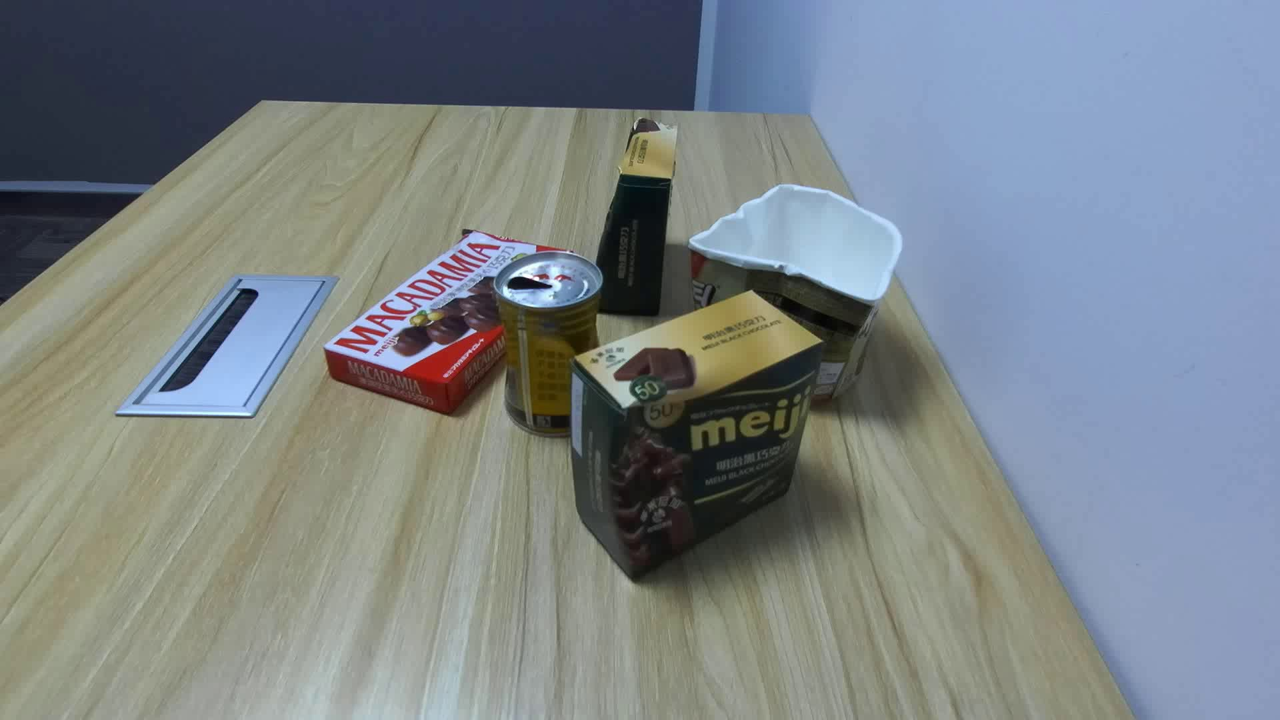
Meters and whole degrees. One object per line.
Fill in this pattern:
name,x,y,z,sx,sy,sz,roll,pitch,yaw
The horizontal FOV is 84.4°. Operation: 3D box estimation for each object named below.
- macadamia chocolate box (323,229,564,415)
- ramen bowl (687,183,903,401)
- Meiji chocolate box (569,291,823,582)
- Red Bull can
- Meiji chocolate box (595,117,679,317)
macadamia chocolate box,-0.125,-0.038,0.505,0.105,0.028,0.183,15,40,15
ramen bowl,0.101,-0.048,0.465,0.113,0.098,0.134,15,41,18
Meiji chocolate box,0.028,0.037,0.348,0.113,0.111,0.058,-21,44,-27
Red Bull can,-0.052,-0.010,0.418,0.072,0.092,0.072,0,38,0
Meiji chocolate box,-0.001,-0.106,0.525,0.052,0.117,0.117,9,38,-4
